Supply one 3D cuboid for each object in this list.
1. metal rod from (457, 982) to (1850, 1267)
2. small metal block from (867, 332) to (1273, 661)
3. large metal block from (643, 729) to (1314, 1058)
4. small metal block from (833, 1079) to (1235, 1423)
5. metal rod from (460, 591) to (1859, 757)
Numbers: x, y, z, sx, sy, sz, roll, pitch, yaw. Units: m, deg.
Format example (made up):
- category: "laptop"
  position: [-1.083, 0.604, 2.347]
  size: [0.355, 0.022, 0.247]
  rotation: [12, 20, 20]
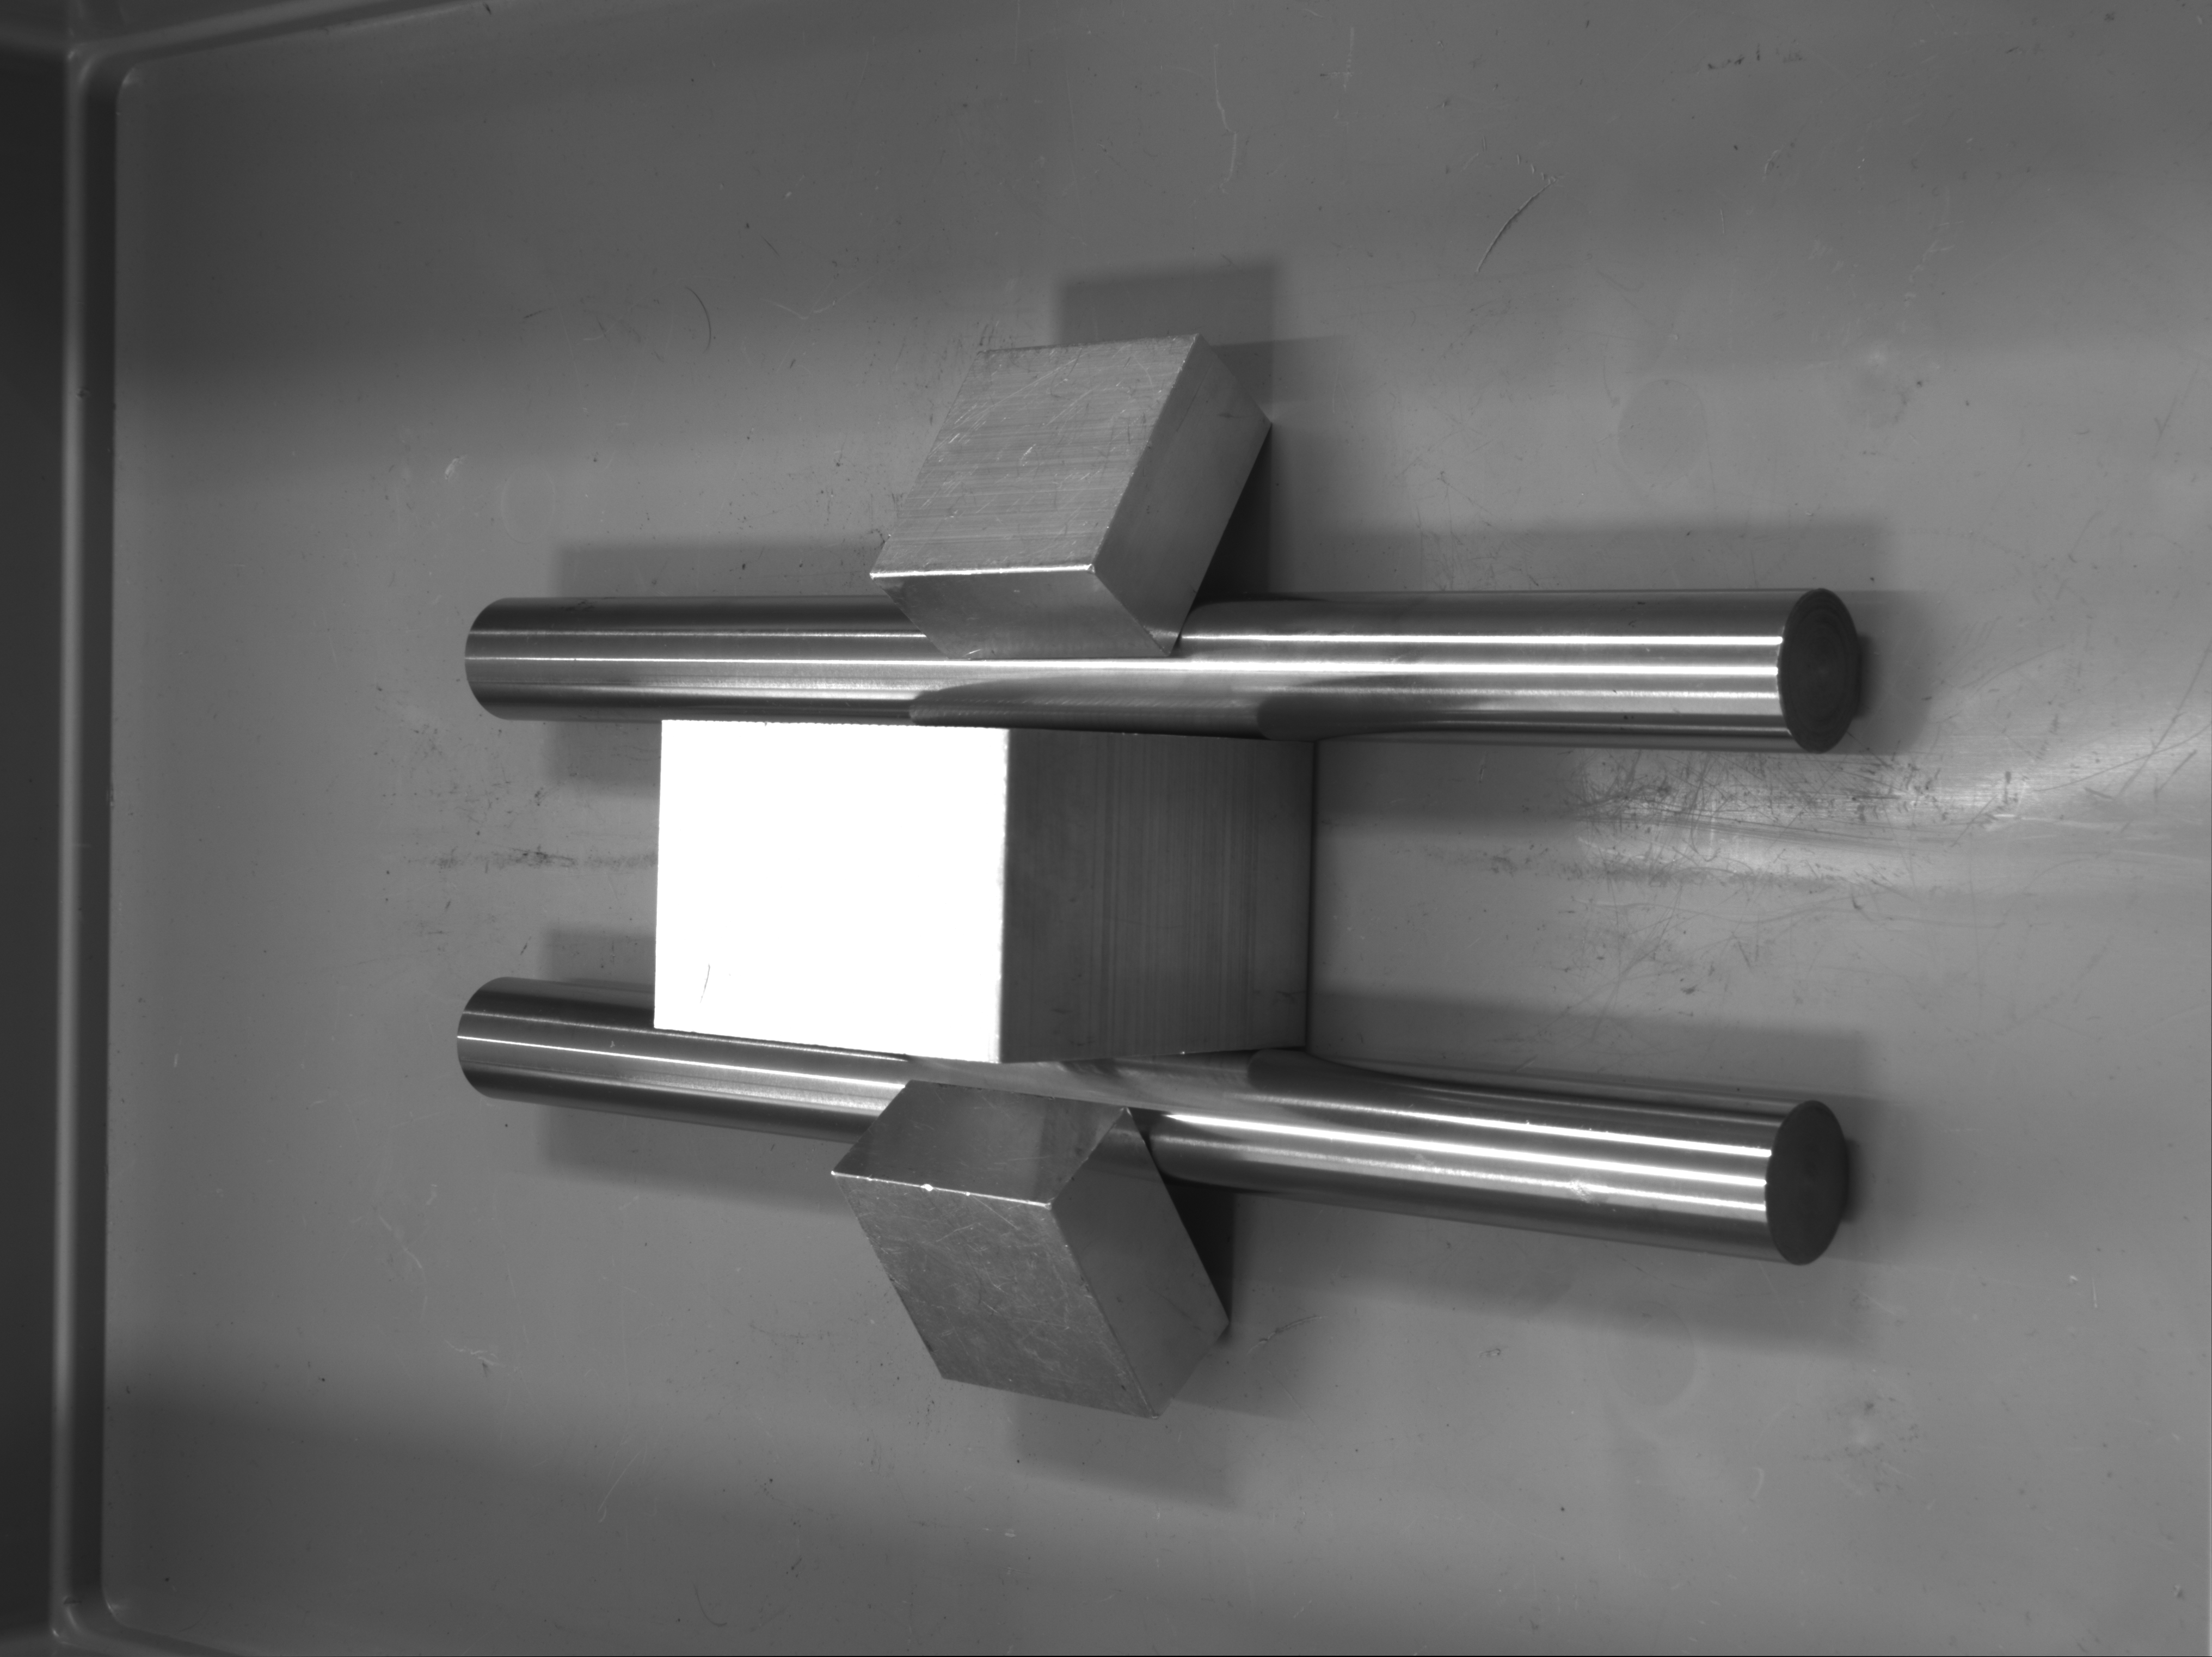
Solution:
- category: "metal rod"
  position: [-0.008, 0.048, 0.651]
  size: [0.299, 0.025, 0.025]
  rotation: [3, 92, 40]
- category: "small metal block"
  position: [-0.006, -0.057, 0.634]
  size: [0.050, 0.025, 0.050]
  rotation: [1, 56, 40]
- category: "large metal block"
  position: [-0.021, 0.009, 0.625]
  size: [0.080, 0.080, 0.050]
  rotation: [2, 91, 40]
- category: "small metal block"
  position: [-0.012, 0.073, 0.639]
  size: [0.050, 0.025, 0.050]
  rotation: [3, 130, 40]
- category: "metal rod"
  position: [-0.007, -0.029, 0.649]
  size: [0.299, 0.025, 0.025]
  rotation: [3, 92, 40]
